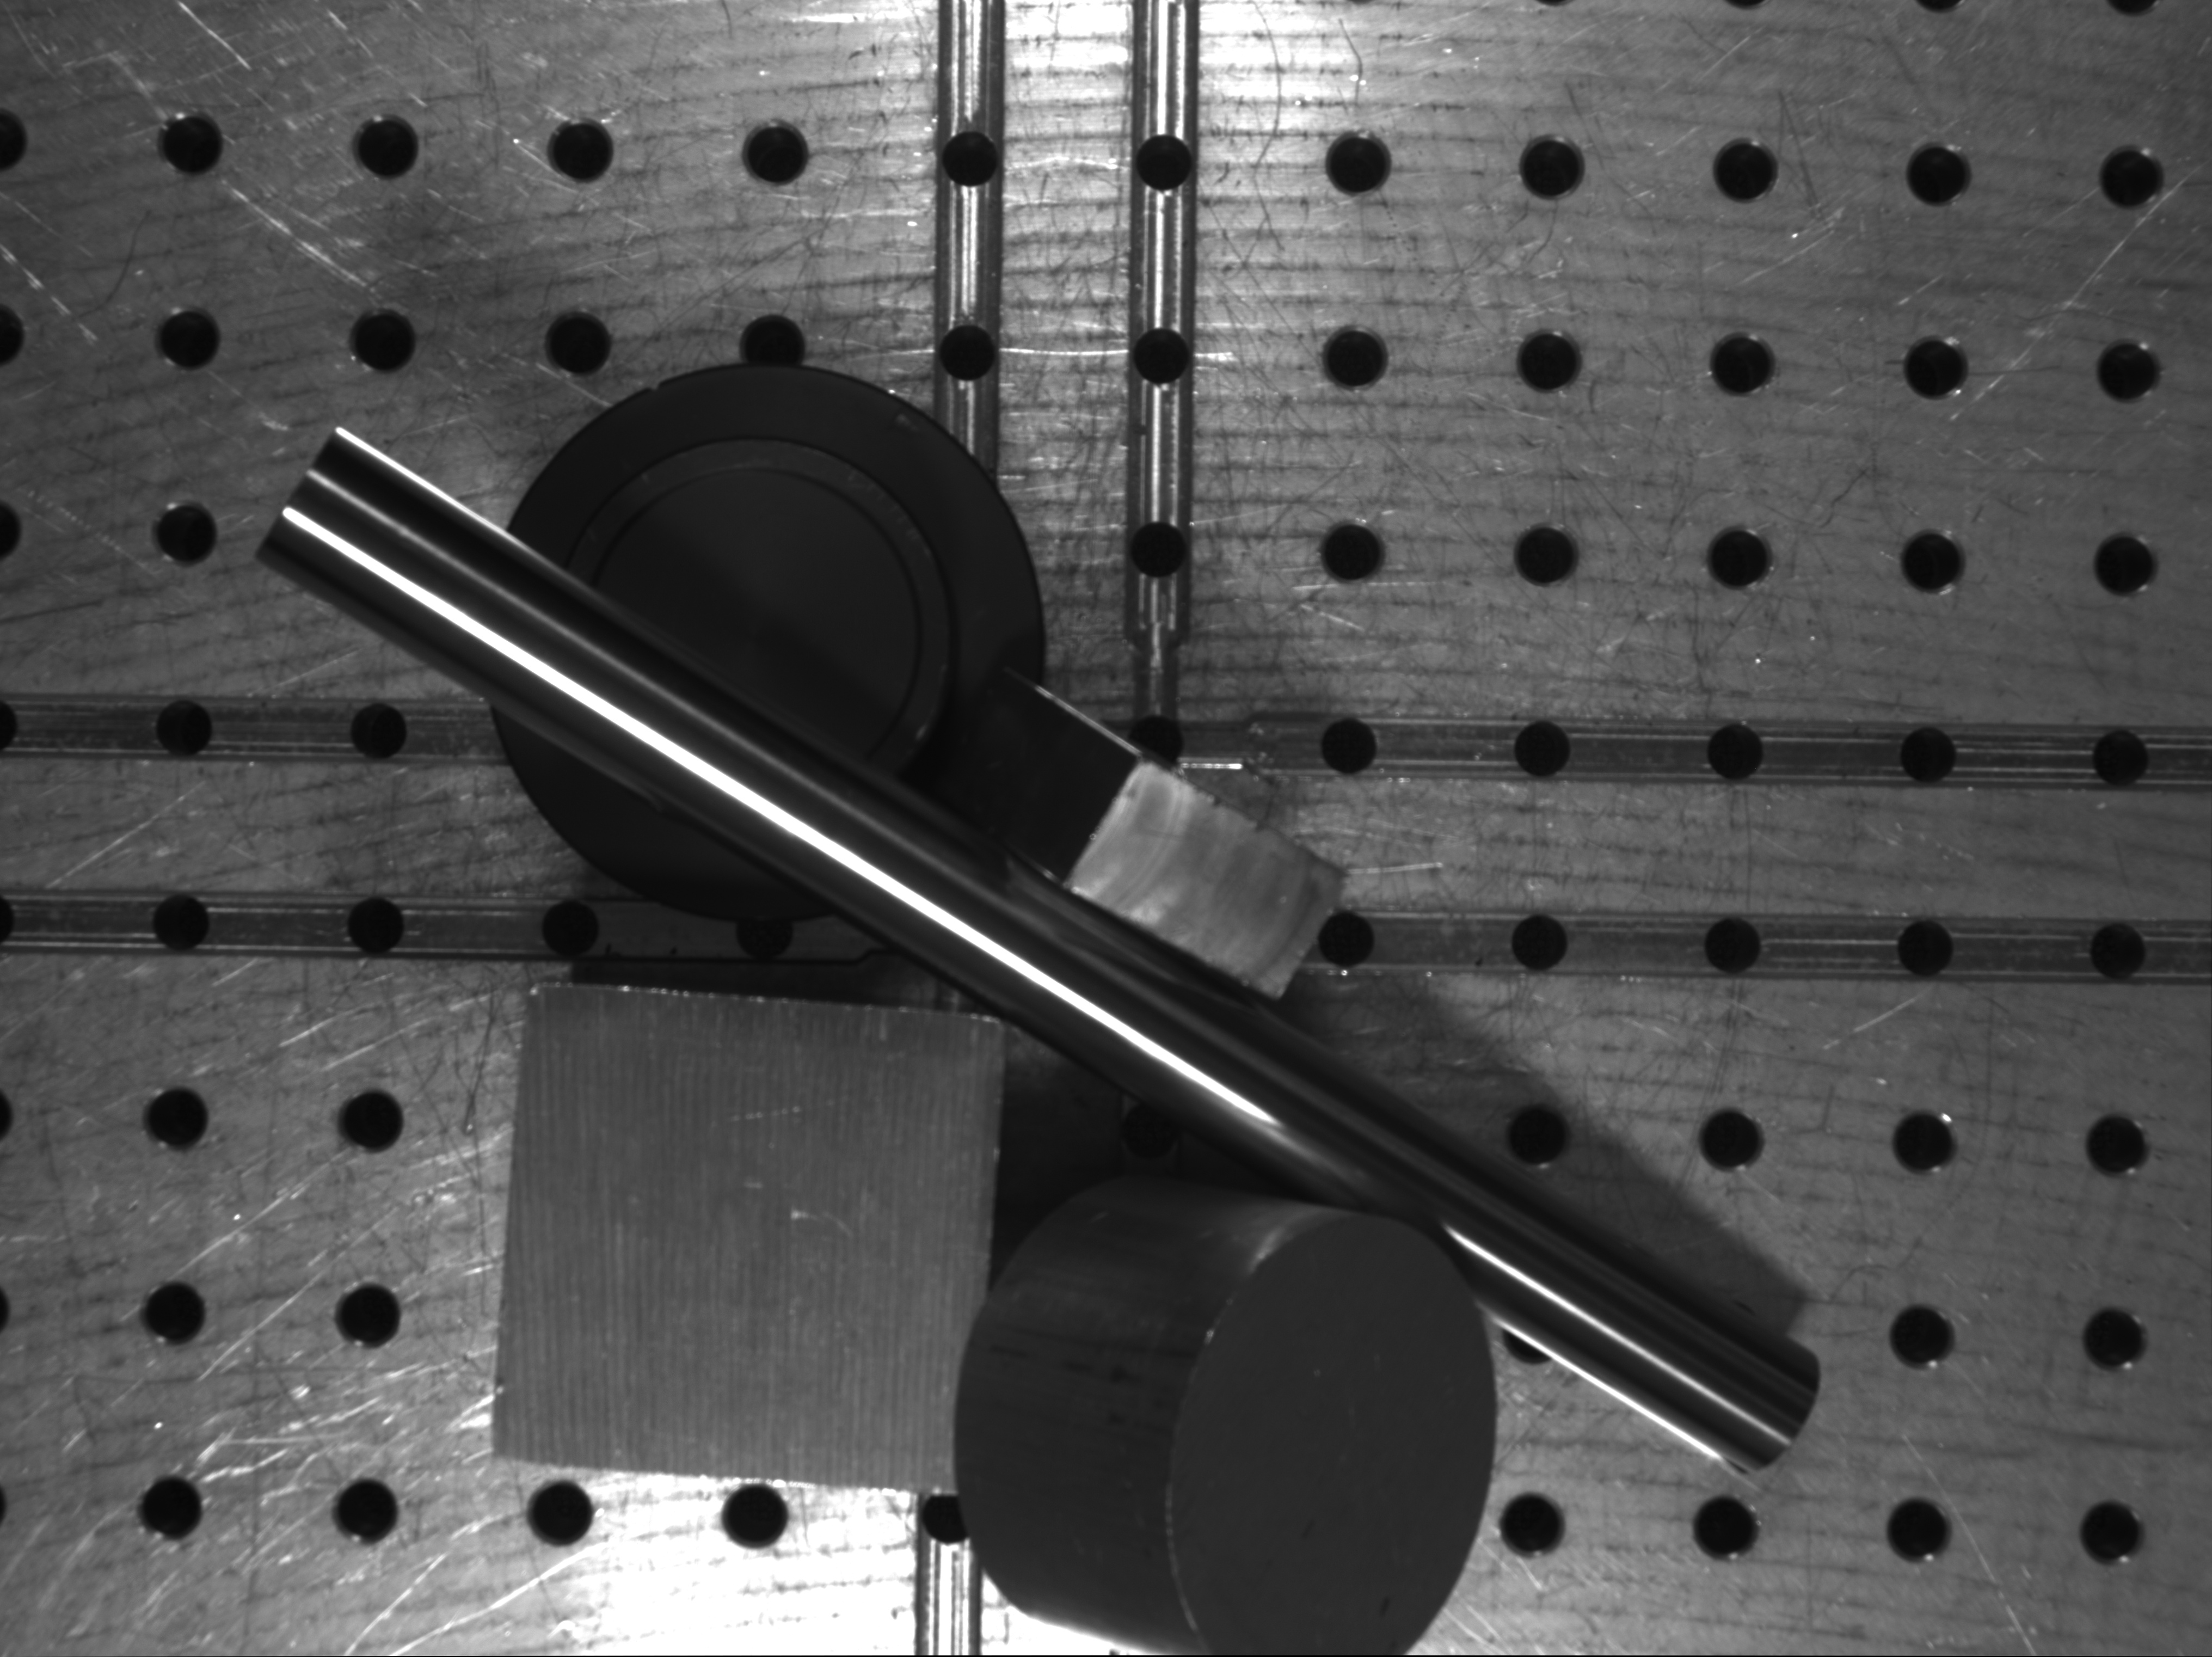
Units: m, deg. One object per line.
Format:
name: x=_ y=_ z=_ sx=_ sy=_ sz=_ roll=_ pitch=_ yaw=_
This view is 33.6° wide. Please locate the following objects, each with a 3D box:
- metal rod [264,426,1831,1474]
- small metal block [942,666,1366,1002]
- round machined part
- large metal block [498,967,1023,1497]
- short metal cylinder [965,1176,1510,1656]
metal rod: x=-0.003 y=0.025 z=0.615 sx=0.300 sy=0.025 sz=0.025 roll=32 pitch=90 yaw=-13
small metal block: x=0.008 y=0.001 z=0.625 sx=0.050 sy=0.050 sz=0.025 roll=29 pitch=93 yaw=-34
round machined part: x=-0.058 y=-0.032 z=0.639 sx=0.098 sy=0.042 sz=0.098 roll=0 pitch=90 yaw=0
large metal block: x=-0.058 y=0.068 z=0.632 sx=0.080 sy=0.050 sz=0.080 roll=5 pitch=90 yaw=0
short metal cylinder: x=0.023 y=0.101 z=0.614 sx=0.080 sy=0.050 sz=0.080 roll=-5 pitch=97 yaw=-45
